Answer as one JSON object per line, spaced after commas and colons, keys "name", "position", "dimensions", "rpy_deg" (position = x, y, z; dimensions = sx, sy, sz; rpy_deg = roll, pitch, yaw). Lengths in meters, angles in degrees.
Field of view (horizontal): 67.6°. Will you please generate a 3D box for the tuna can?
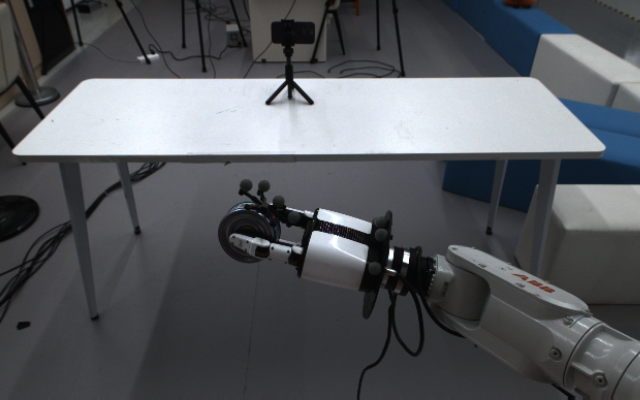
{"name": "tuna can", "position": [-0.098, 0.053, 0.691], "dimensions": [0.085, 0.085, 0.034], "rpy_deg": [6, 19, 6]}
